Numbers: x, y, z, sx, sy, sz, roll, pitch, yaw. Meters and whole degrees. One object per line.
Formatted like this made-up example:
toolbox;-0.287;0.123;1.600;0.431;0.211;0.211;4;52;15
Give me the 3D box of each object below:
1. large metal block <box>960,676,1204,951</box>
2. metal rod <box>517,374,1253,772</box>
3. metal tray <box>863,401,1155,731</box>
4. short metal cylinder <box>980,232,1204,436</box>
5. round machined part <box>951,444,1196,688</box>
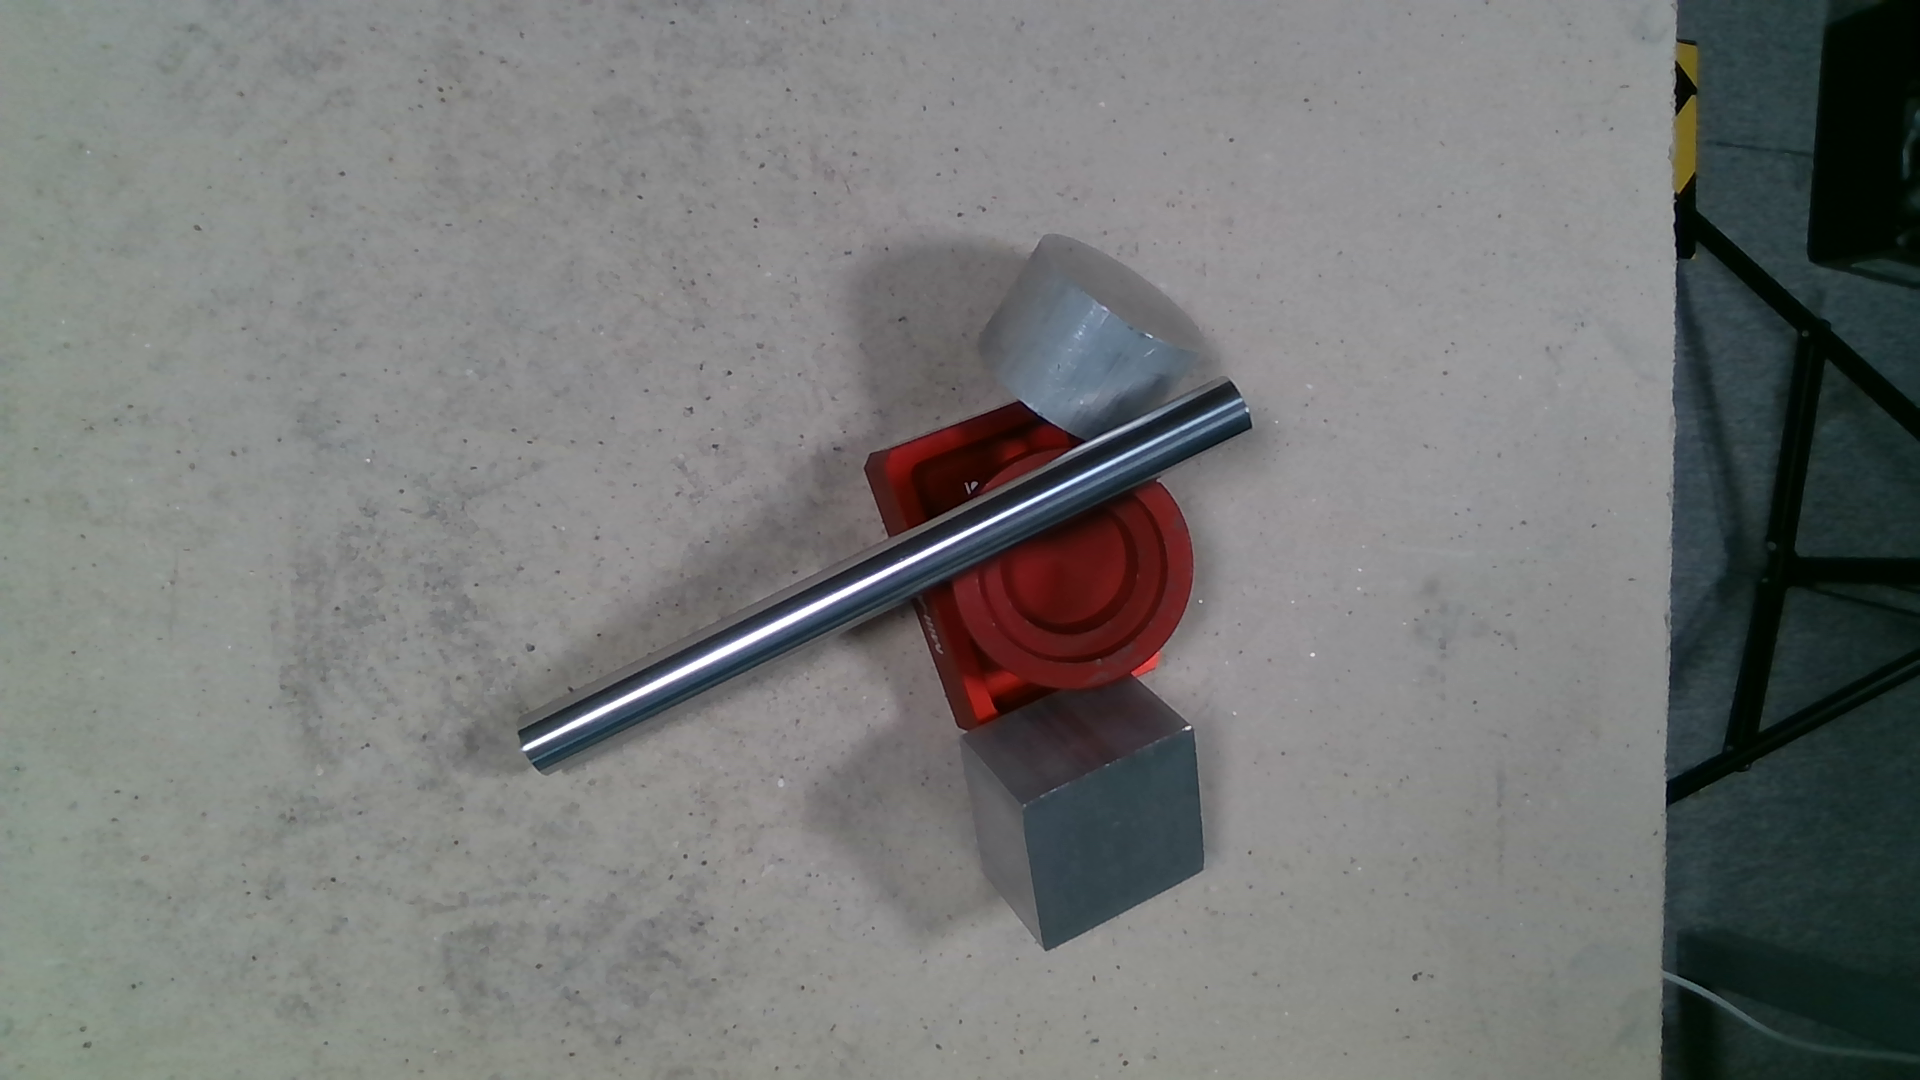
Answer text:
large metal block;0.052;0.110;0.574;0.080;0.050;0.080;-22;123;-19
metal rod;-0.028;0.012;0.529;0.300;0.025;0.025;-26;99;-1
metal tray;0.023;0.009;0.592;0.090;0.030;0.130;-22;98;-19
short metal cylinder;0.054;-0.083;0.569;0.080;0.080;0.050;25;117;-19
round machined part;0.044;0.009;0.568;0.098;0.042;0.098;0;95;-5
